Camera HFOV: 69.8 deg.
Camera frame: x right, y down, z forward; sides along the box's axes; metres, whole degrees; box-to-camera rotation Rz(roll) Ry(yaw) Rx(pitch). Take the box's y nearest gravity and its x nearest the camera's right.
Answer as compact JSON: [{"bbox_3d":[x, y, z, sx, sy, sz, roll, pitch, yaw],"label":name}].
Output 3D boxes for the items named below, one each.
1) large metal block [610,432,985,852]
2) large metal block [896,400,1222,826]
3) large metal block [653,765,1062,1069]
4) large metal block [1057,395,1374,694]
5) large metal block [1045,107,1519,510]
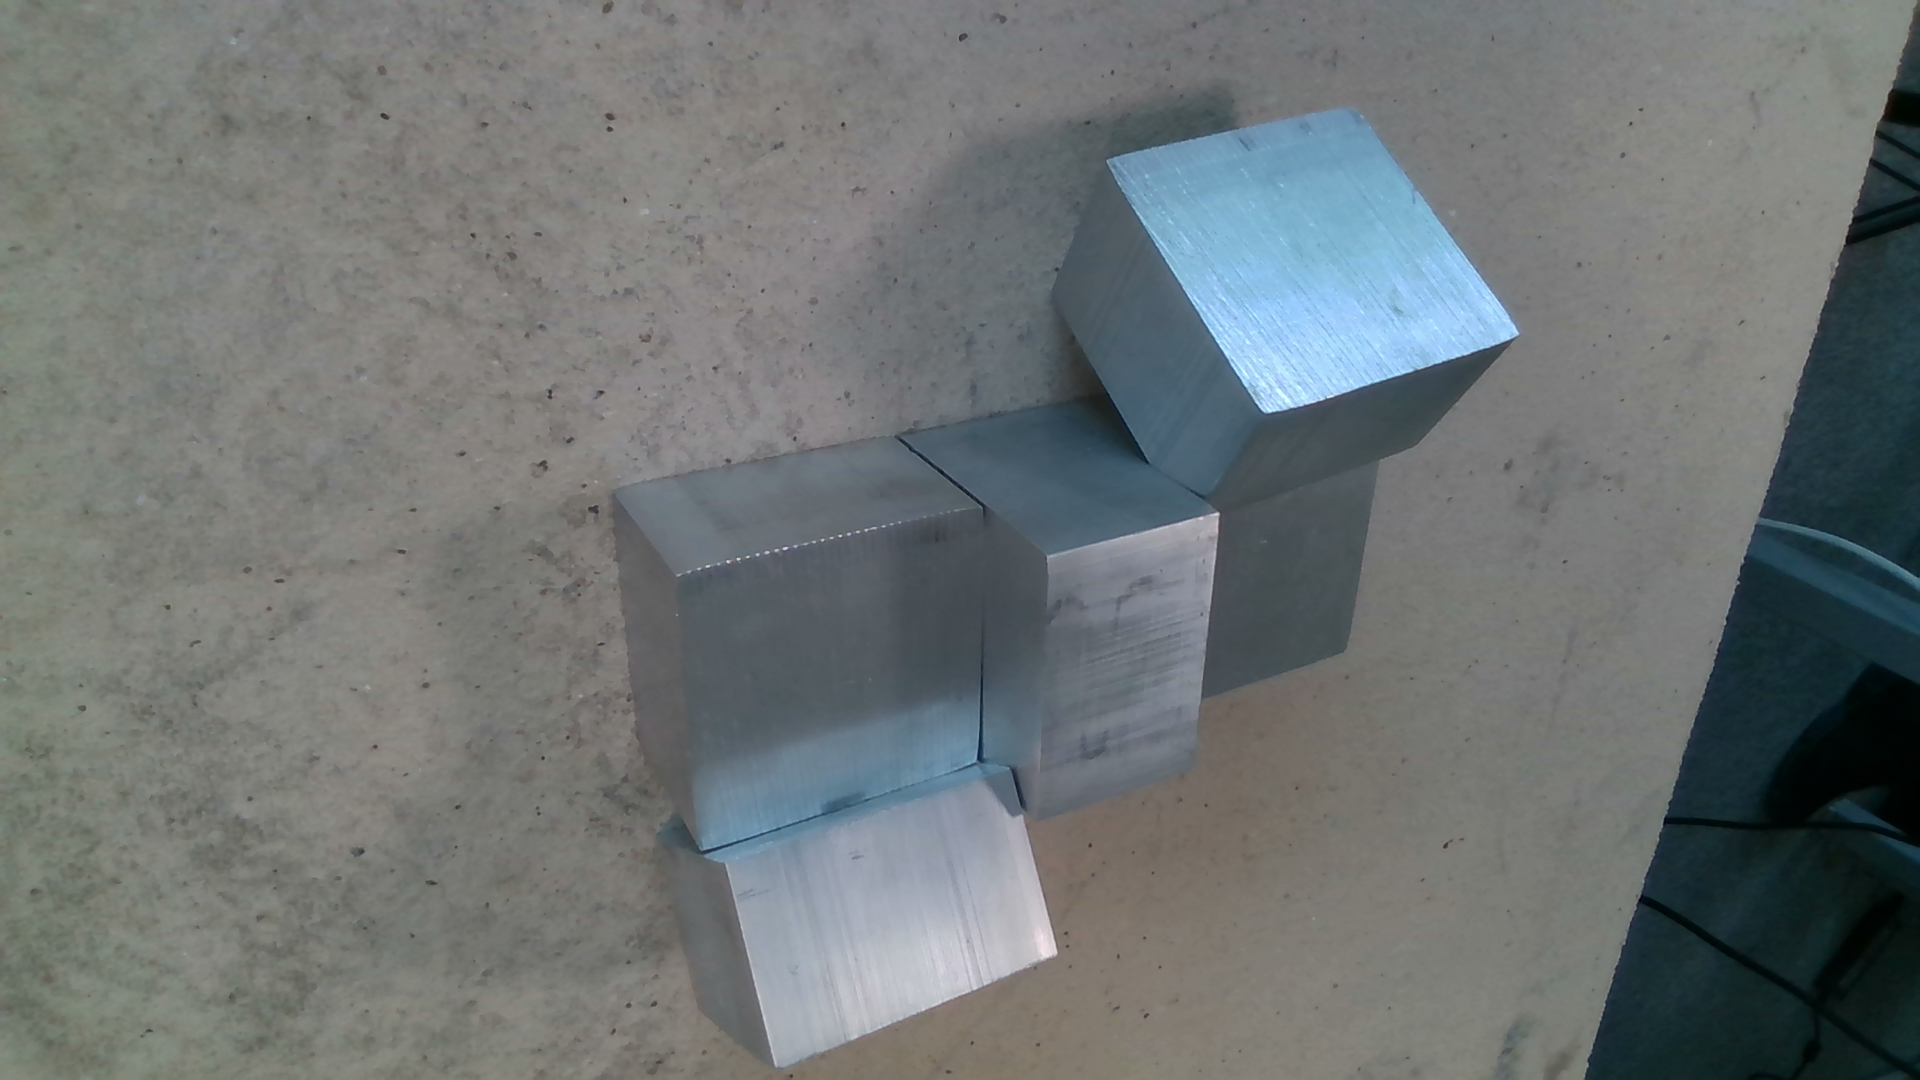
[{"bbox_3d":[-0.041,0.024,0.362,0.080,0.050,0.080,-13,121,-25],"label":"large metal block"},{"bbox_3d":[0.023,0.017,0.378,0.050,0.080,0.080,-14,121,-25],"label":"large metal block"},{"bbox_3d":[-0.031,0.097,0.379,0.080,0.080,0.050,-14,89,-25],"label":"large metal block"},{"bbox_3d":[0.074,-0.002,0.416,0.080,0.050,0.080,-14,121,-25],"label":"large metal block"},{"bbox_3d":[0.082,-0.061,0.363,0.080,0.080,0.050,-18,157,-23],"label":"large metal block"}]
